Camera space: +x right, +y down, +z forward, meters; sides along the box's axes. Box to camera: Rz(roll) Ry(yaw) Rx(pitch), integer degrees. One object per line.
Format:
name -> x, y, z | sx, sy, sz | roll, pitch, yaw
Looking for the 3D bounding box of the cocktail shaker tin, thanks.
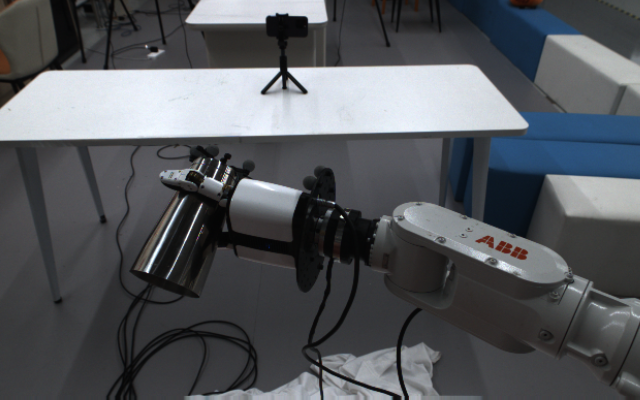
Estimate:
cocktail shaker tin -> -0.166, 0.029, 0.634 | 0.093, 0.093, 0.170 | 12, 65, 15
